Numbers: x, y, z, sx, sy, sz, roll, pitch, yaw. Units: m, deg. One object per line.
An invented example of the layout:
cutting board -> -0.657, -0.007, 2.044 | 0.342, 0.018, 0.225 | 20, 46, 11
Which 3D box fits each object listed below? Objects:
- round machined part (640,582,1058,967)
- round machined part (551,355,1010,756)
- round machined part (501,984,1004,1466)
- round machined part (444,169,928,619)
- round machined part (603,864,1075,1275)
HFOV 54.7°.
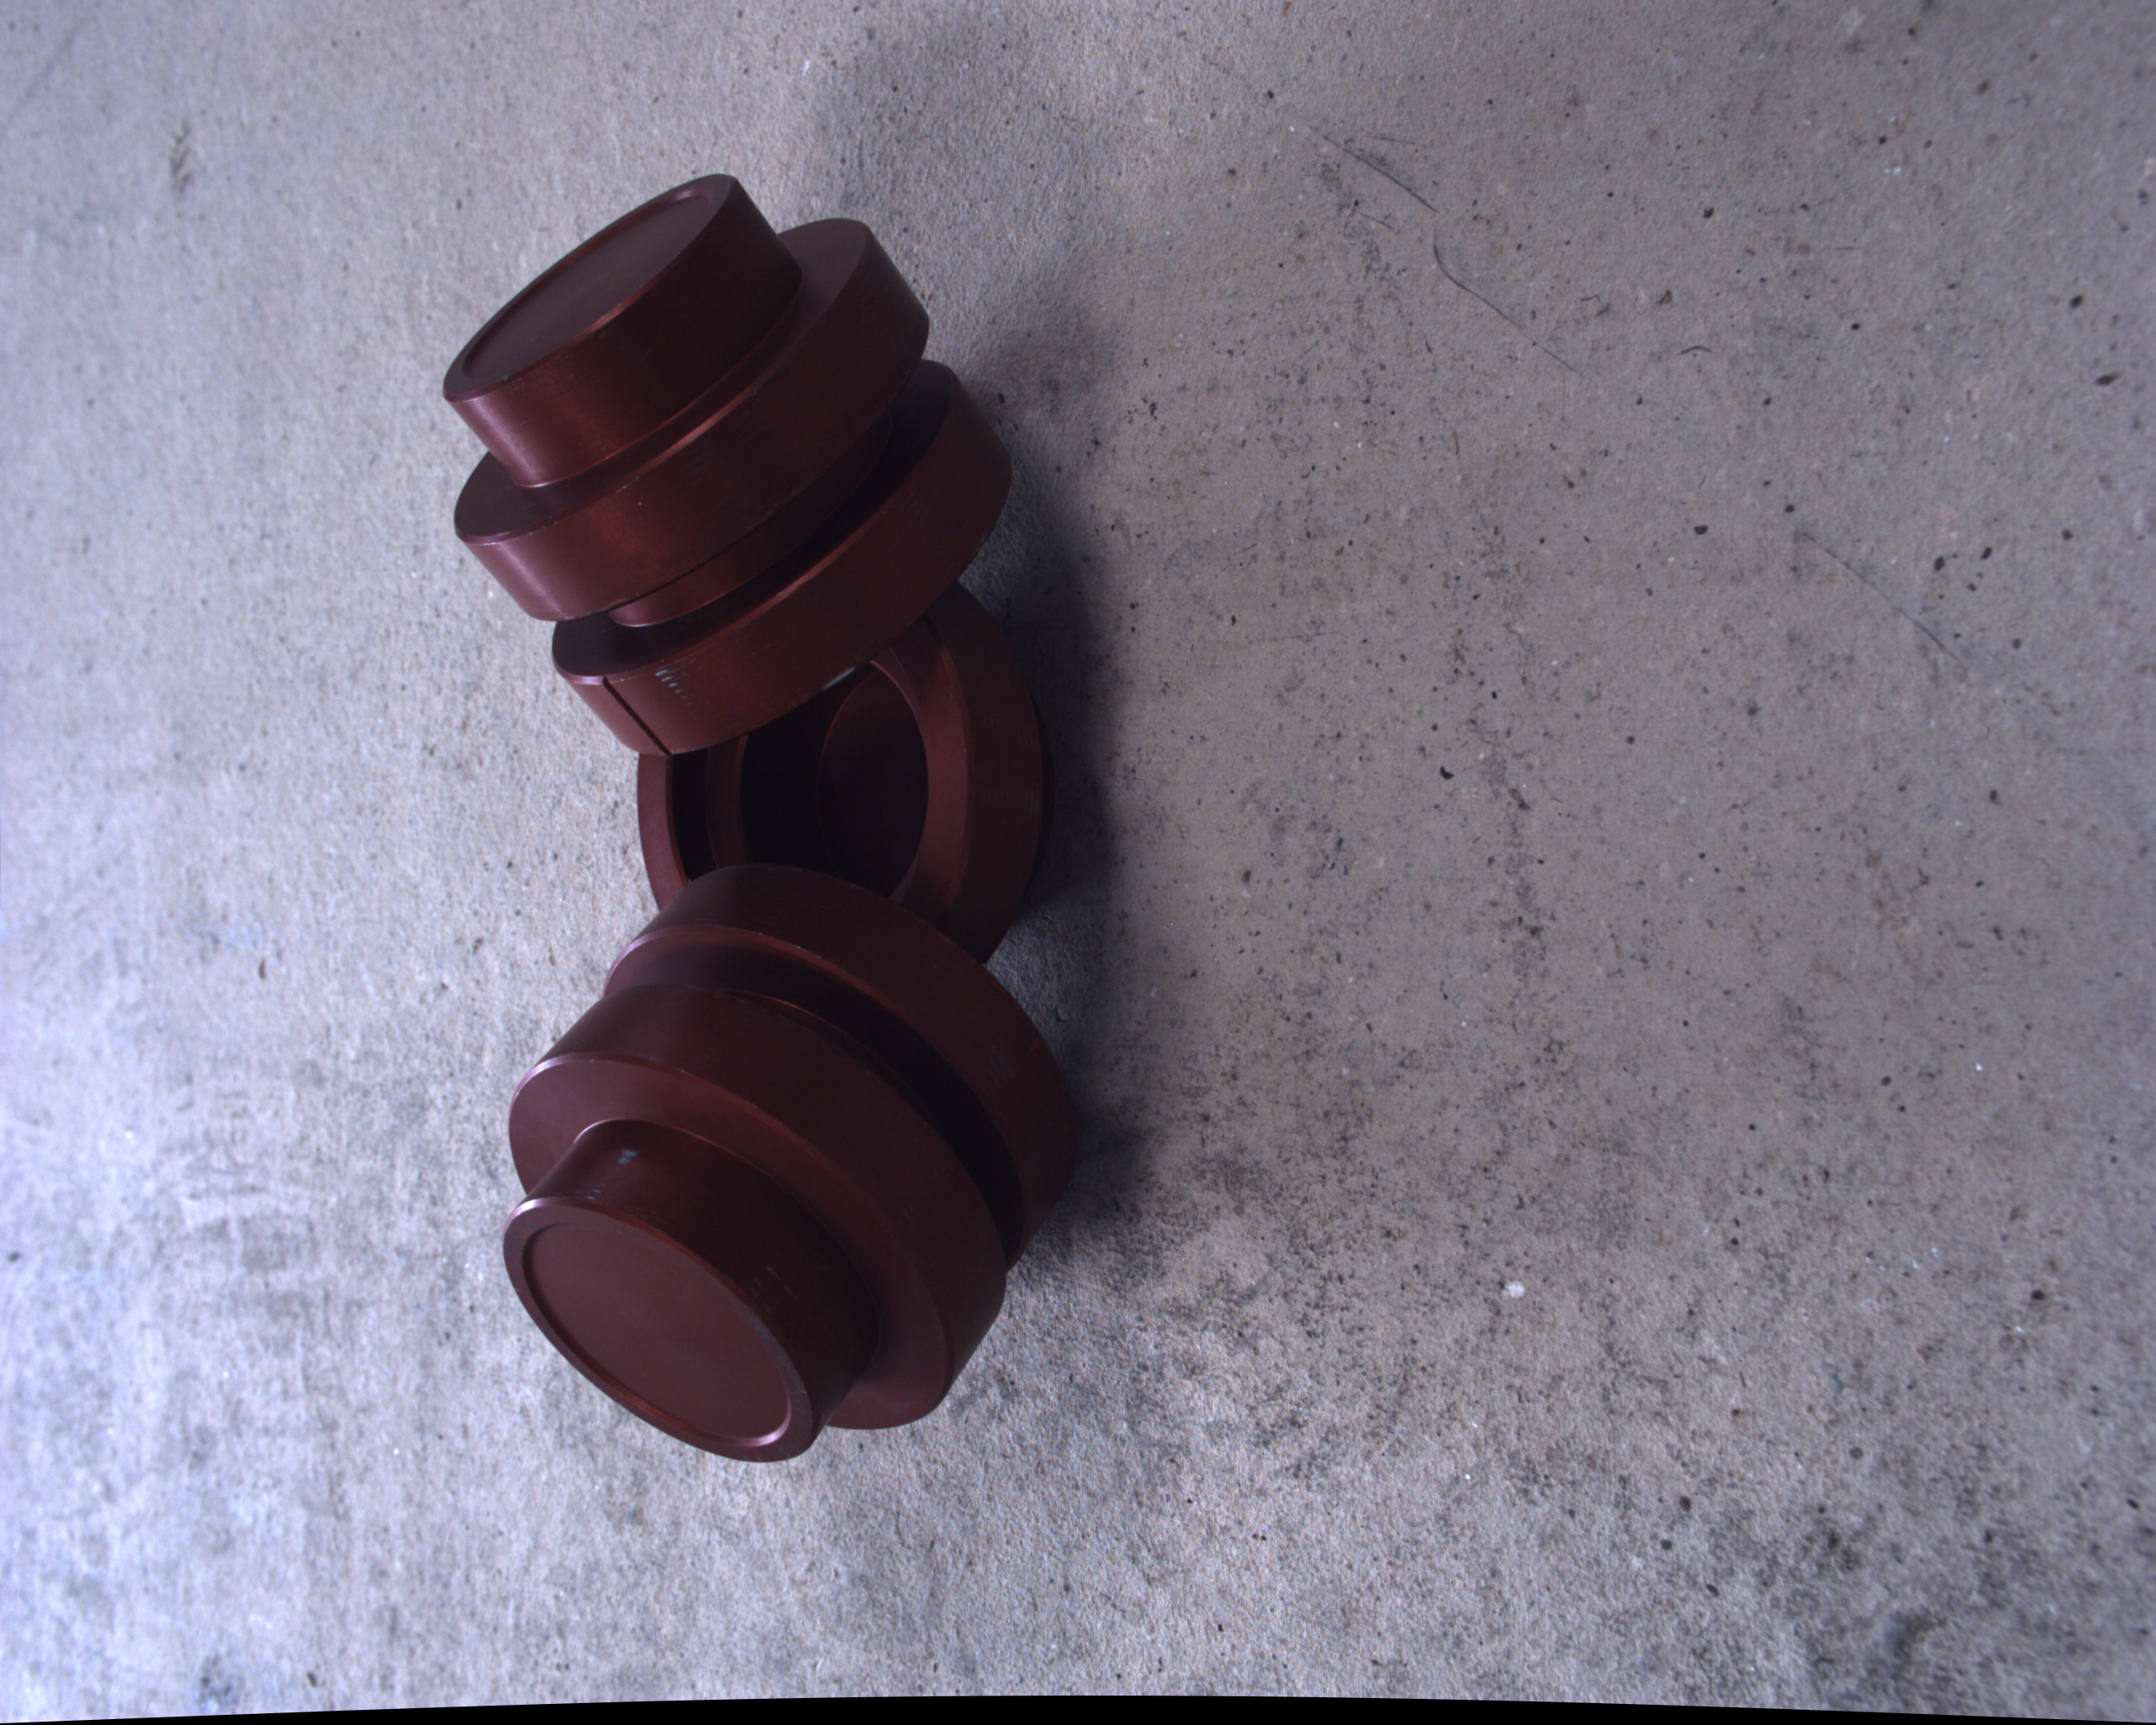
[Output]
round machined part -> -0.043, -0.016, 0.433 | 0.098, 0.042, 0.097 | 0, 90, 40
round machined part -> -0.066, -0.070, 0.414 | 0.098, 0.042, 0.098 | -25, 33, 18
round machined part -> -0.067, 0.073, 0.388 | 0.098, 0.042, 0.097 | 19, 135, 20
round machined part -> -0.081, -0.095, 0.400 | 0.098, 0.042, 0.098 | -26, 33, 19
round machined part -> -0.053, 0.051, 0.407 | 0.098, 0.042, 0.097 | 19, 136, 20
